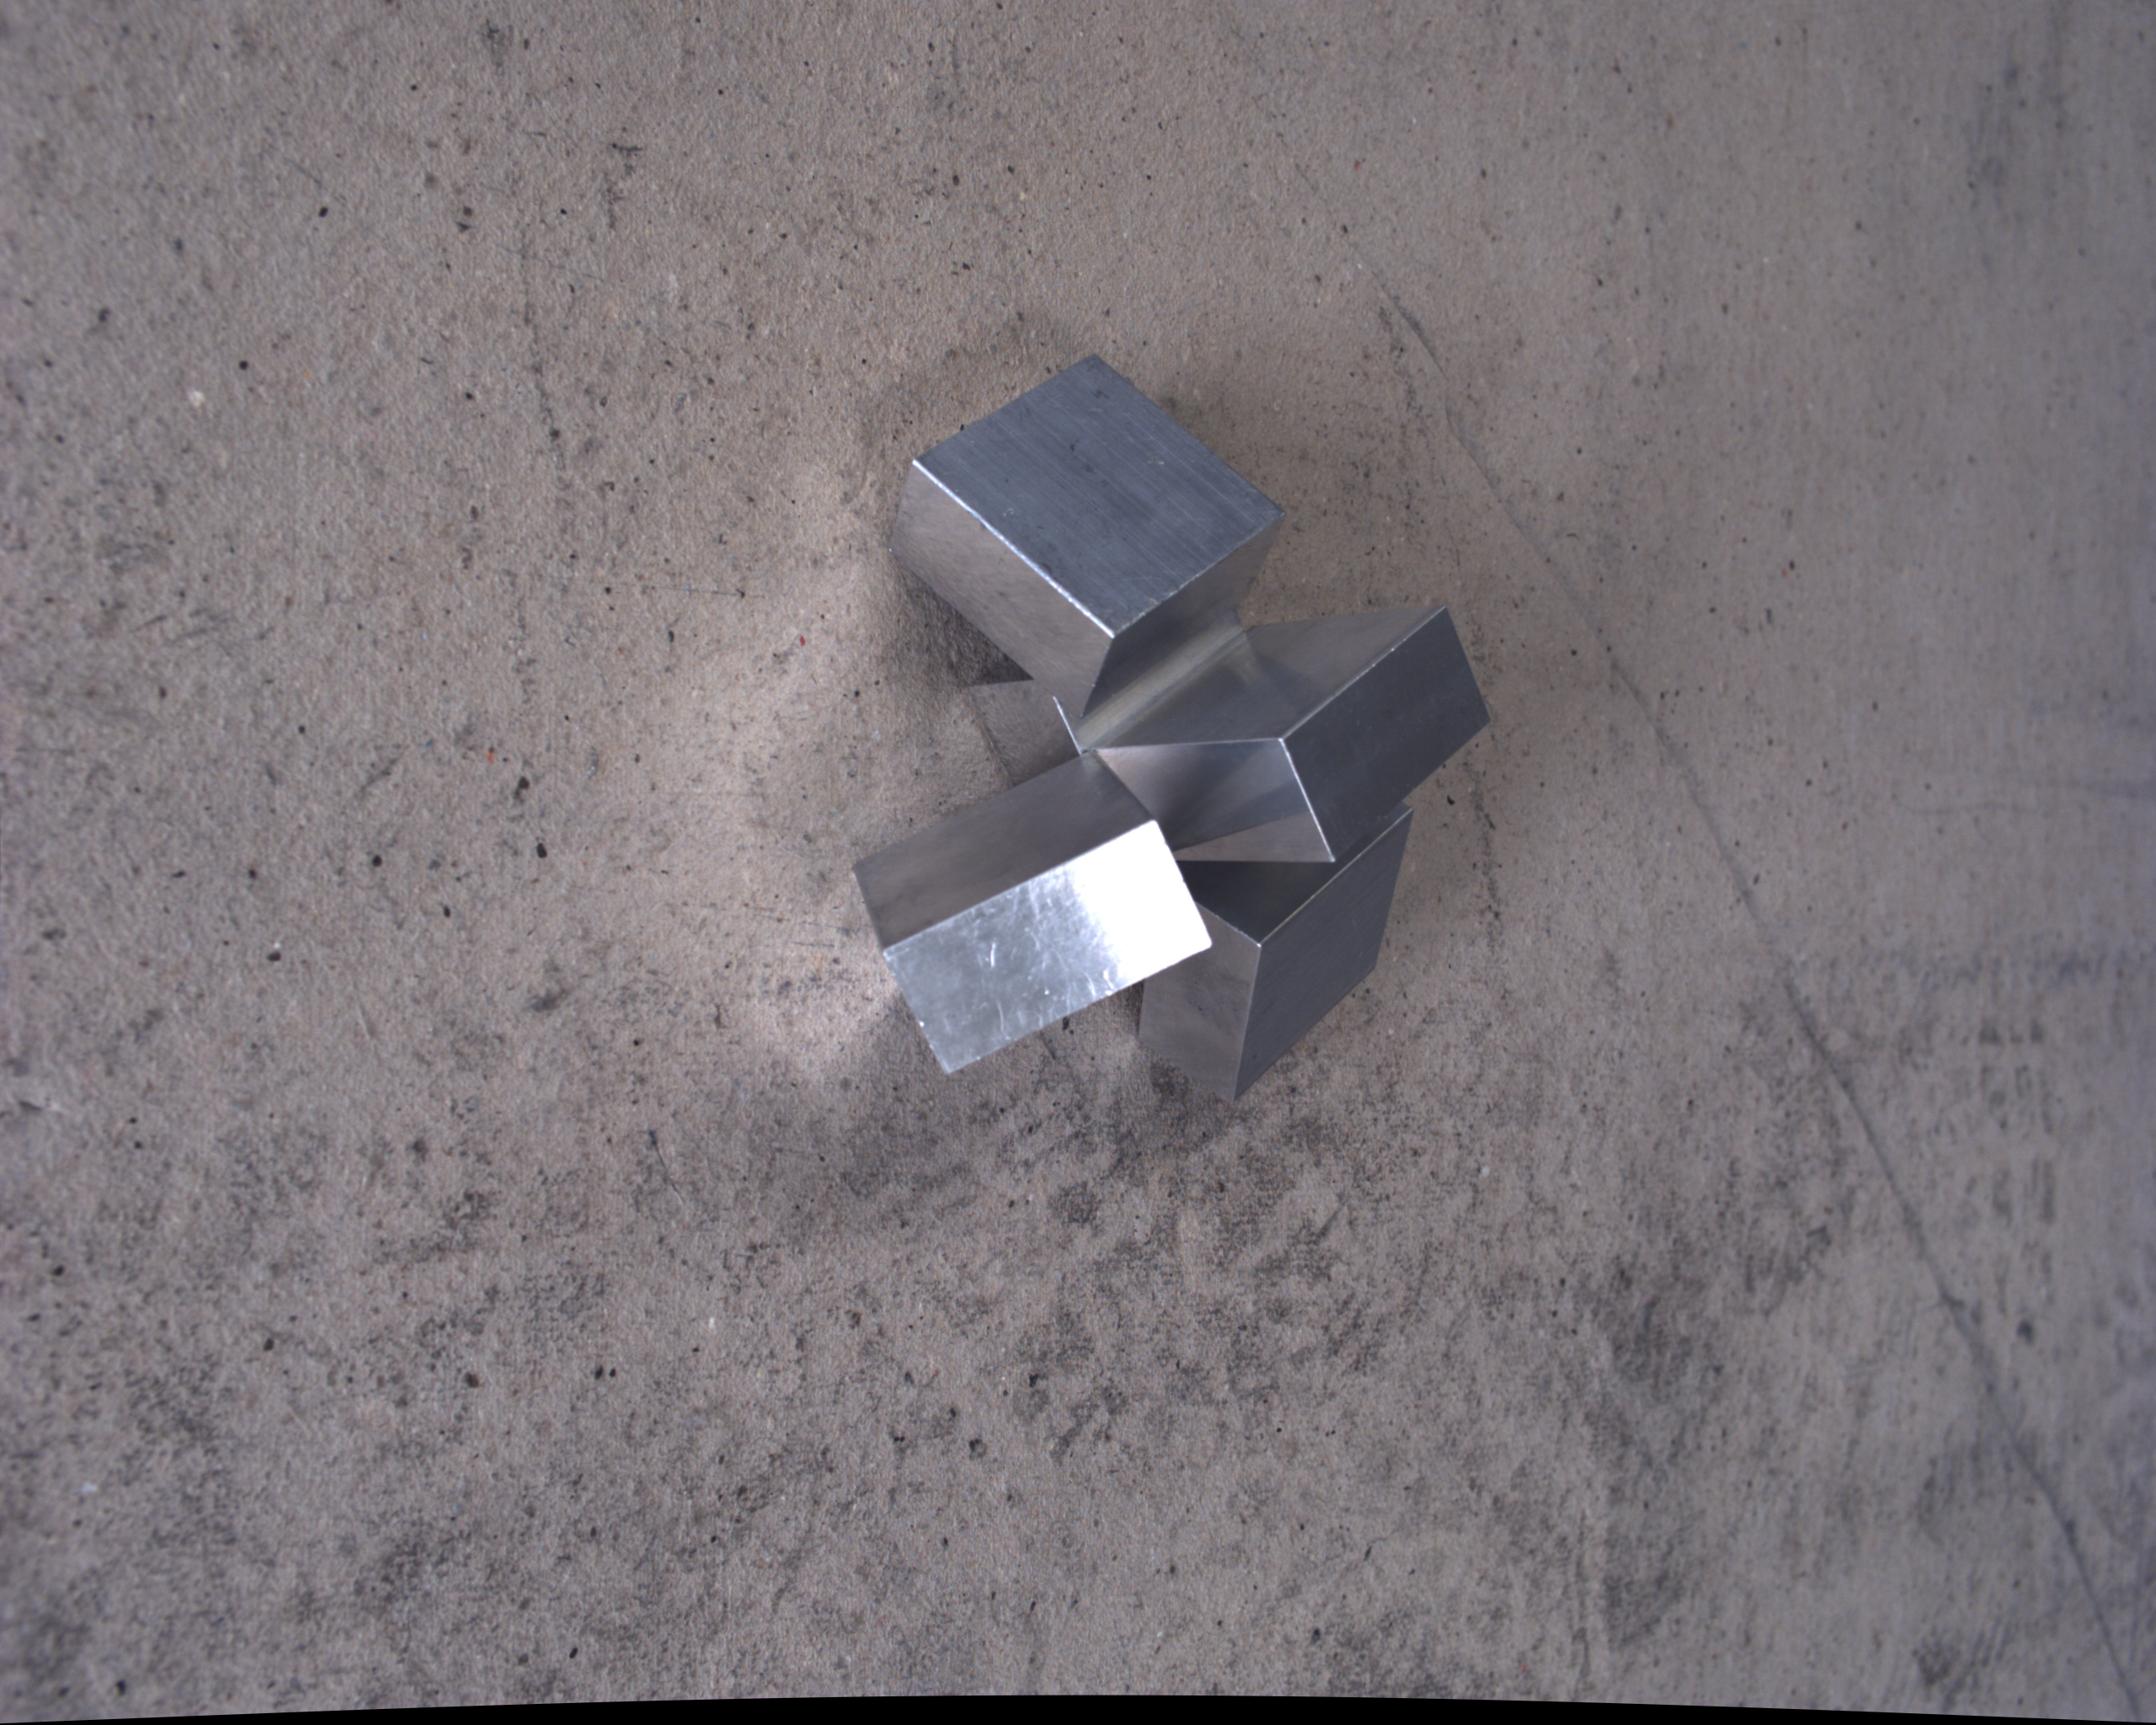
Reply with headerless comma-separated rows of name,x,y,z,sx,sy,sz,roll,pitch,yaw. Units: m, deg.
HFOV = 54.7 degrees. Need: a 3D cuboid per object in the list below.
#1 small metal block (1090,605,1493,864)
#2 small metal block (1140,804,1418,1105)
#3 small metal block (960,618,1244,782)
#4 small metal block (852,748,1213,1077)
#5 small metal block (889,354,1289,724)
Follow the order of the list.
small metal block,0.040,-0.024,0.390,0.050,0.050,0.025,-39,115,-33
small metal block,0.040,0.013,0.423,0.050,0.025,0.050,-39,150,-32
small metal block,0.012,-0.027,0.417,0.050,0.025,0.050,-38,113,-31
small metal block,-0.010,0.007,0.370,0.050,0.050,0.025,-26,110,-3
small metal block,0.002,-0.062,0.391,0.050,0.025,0.050,42,56,14
